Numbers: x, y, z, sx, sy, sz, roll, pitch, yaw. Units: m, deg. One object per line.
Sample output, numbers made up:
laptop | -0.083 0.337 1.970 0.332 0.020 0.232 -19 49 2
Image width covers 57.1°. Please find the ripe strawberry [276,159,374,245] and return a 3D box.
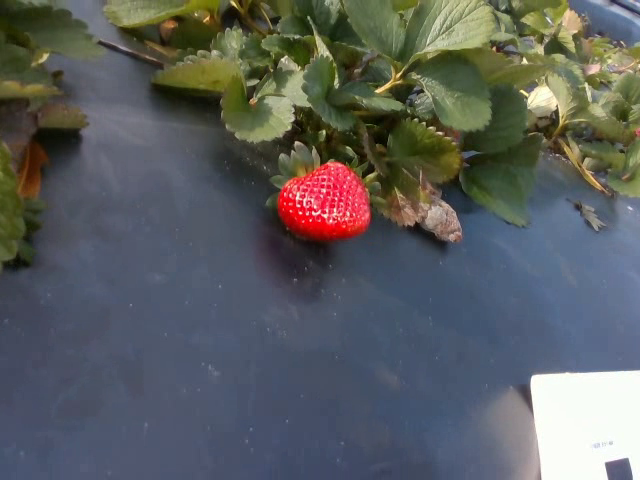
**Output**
ripe strawberry | 0.005 -0.015 0.264 0.045 0.051 0.057 12 21 -36
